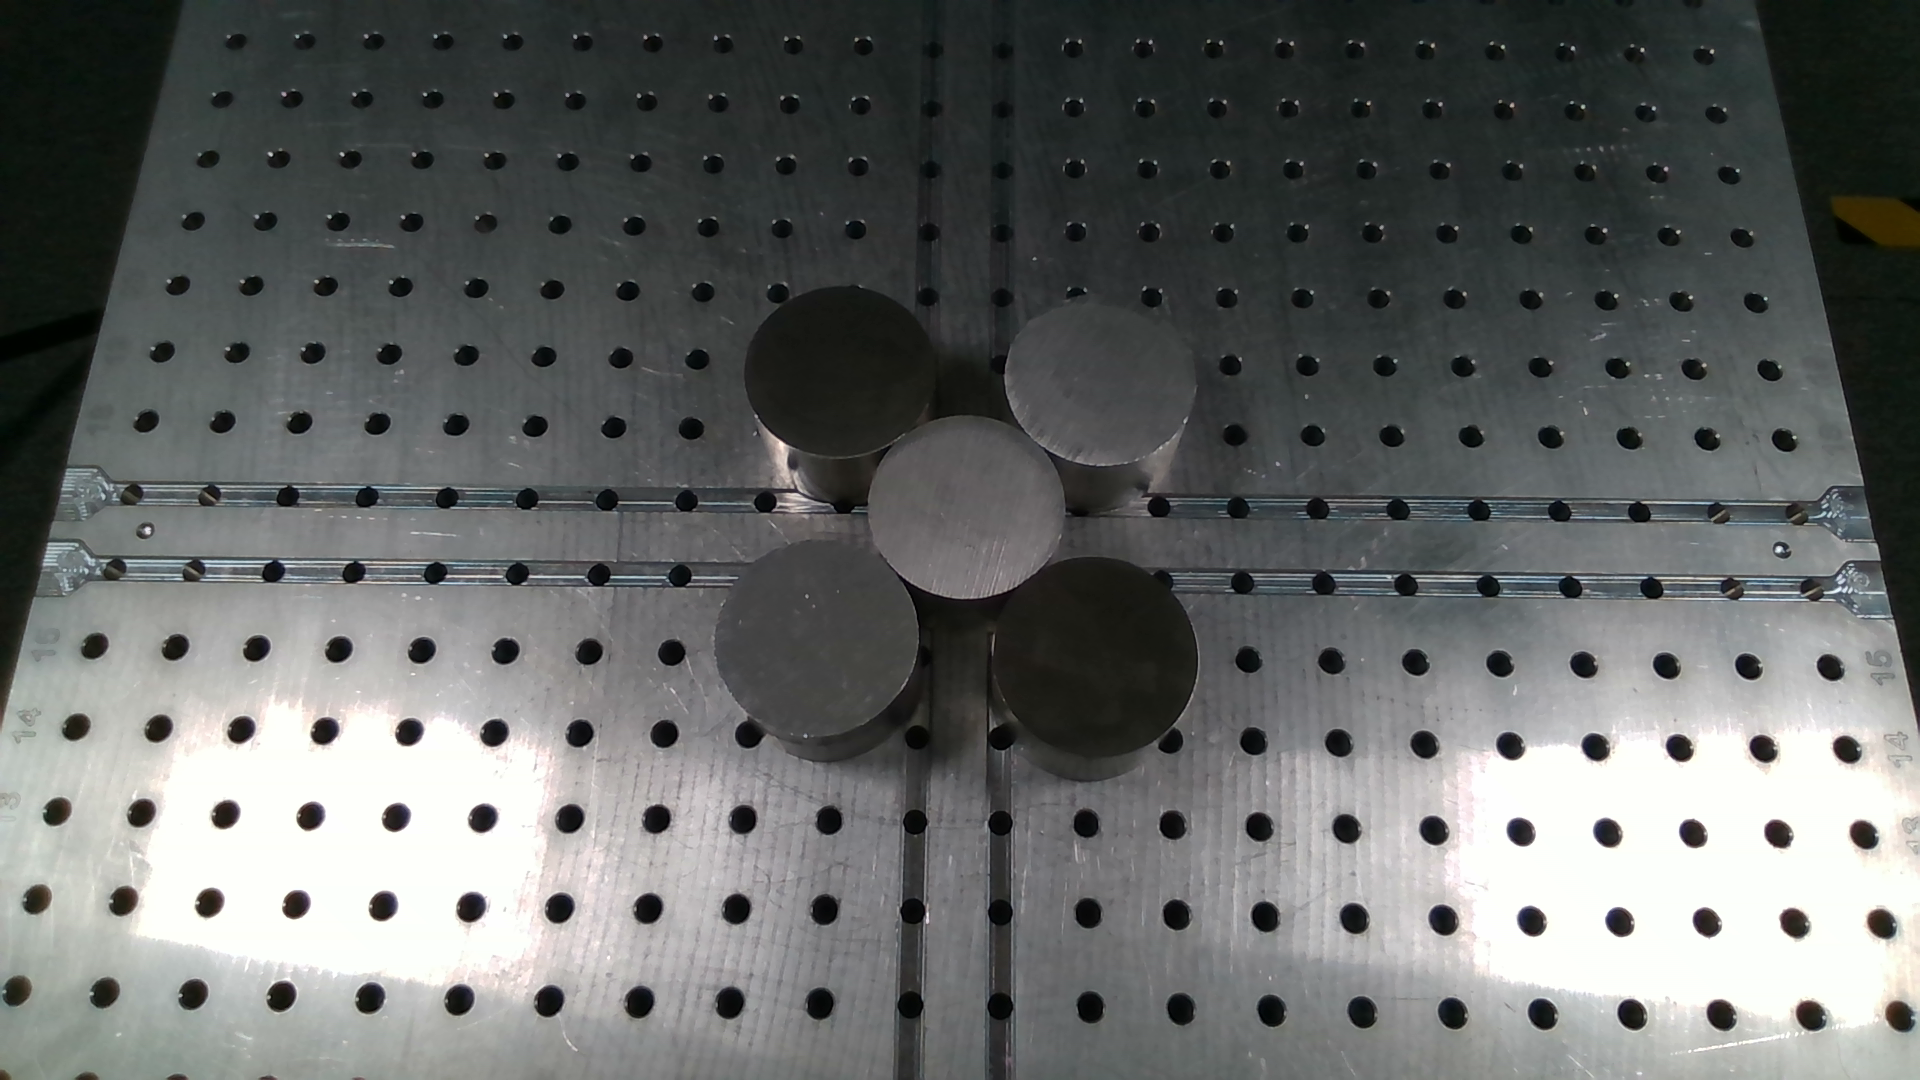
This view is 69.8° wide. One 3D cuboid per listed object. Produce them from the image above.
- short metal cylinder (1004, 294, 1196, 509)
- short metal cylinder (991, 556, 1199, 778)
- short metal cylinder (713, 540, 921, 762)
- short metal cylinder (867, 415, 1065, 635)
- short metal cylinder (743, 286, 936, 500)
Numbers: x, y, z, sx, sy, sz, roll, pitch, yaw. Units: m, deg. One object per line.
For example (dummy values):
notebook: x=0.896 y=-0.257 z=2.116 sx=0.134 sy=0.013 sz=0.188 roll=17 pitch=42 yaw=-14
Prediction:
short metal cylinder: x=0.059 y=-0.059 z=0.598 sx=0.080 sy=0.050 sz=0.080 roll=0 pitch=70 yaw=0
short metal cylinder: x=0.052 y=0.052 z=0.556 sx=0.080 sy=0.050 sz=0.080 roll=0 pitch=70 yaw=0
short metal cylinder: x=-0.056 y=0.046 z=0.560 sx=0.080 sy=0.050 sz=0.080 roll=0 pitch=70 yaw=0
short metal cylinder: x=0.002 y=-0.006 z=0.579 sx=0.080 sy=0.050 sz=0.080 roll=0 pitch=70 yaw=0
short metal cylinder: x=-0.050 y=-0.062 z=0.599 sx=0.080 sy=0.050 sz=0.080 roll=0 pitch=70 yaw=0
